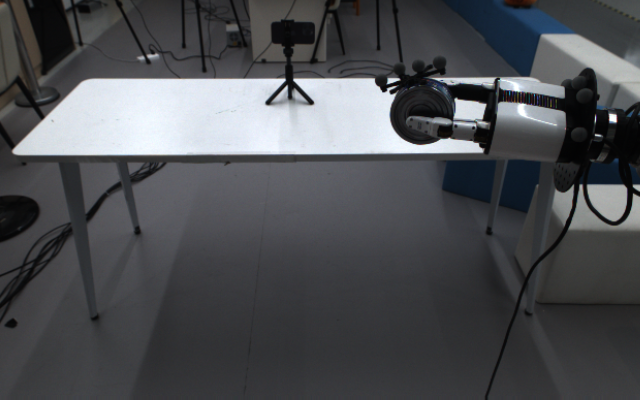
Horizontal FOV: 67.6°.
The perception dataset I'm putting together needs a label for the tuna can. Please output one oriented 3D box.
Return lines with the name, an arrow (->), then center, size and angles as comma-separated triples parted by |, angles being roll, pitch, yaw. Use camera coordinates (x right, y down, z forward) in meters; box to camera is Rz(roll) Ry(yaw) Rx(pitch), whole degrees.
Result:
tuna can -> 0.140, -0.122, 0.660 | 0.085, 0.085, 0.034 | 11, 34, 13
